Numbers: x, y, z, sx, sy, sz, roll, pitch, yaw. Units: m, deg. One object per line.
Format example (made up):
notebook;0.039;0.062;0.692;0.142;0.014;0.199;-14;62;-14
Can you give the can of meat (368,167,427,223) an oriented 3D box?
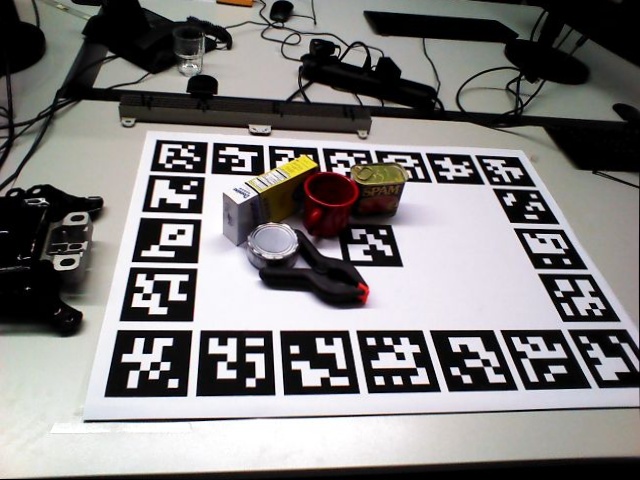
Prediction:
can of meat;0.134;-0.079;0.924;0.101;0.084;0.057;-4;46;-16

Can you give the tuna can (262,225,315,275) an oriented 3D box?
tuna can;-0.050;0.017;0.822;0.086;0.034;0.085;5;47;-6

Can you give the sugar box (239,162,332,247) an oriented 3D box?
sugar box;-0.052;-0.062;0.866;0.175;0.093;0.045;-30;57;-35

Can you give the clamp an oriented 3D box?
clamp;0.032;0.062;0.801;0.165;0.037;0.121;30;44;12

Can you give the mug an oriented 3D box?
mug;0.041;-0.051;0.868;0.093;0.082;0.116;20;48;8
